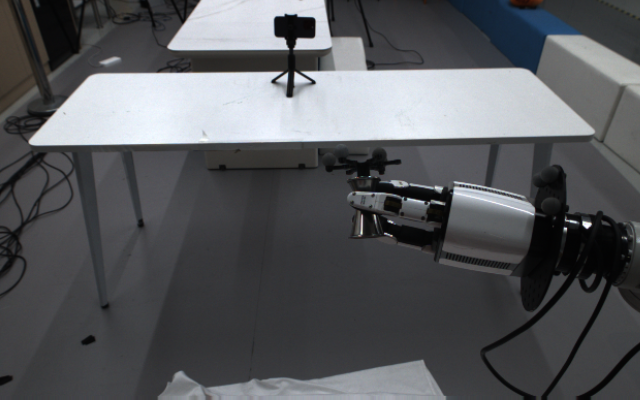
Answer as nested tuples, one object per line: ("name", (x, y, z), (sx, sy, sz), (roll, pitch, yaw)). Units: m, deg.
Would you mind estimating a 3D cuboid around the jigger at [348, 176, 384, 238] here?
("jigger", (0.053, 0.009, 0.560), (0.043, 0.071, 0.043), (-2, -7, 0))
